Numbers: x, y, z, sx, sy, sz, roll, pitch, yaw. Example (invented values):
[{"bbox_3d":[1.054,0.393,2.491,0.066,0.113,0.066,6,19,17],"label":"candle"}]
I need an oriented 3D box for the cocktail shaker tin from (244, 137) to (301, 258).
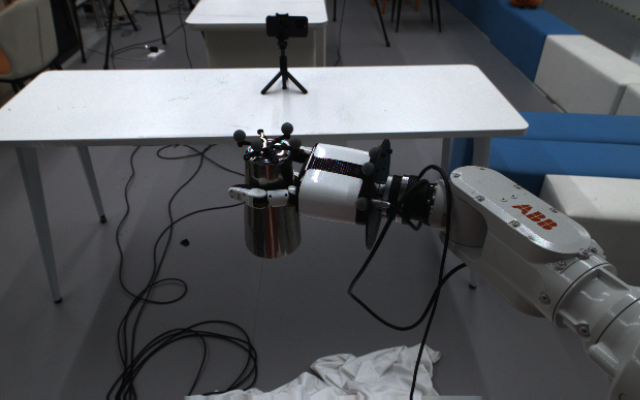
[{"bbox_3d":[-0.072,-0.007,0.739,0.093,0.170,0.093,1,39,-1],"label":"cocktail shaker tin"}]
